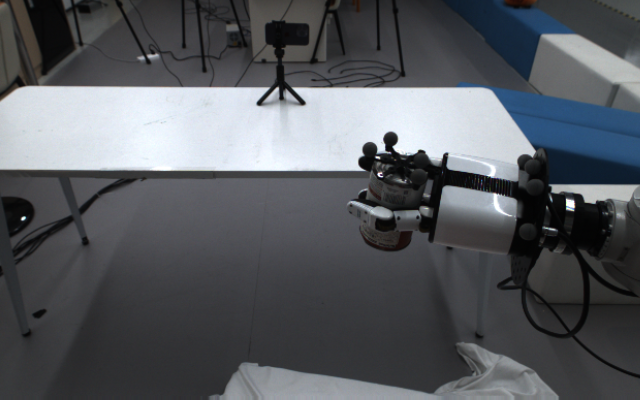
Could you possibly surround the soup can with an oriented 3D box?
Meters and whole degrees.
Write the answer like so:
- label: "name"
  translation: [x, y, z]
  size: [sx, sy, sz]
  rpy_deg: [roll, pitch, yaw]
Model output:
- label: "soup can"
  translation: [0.090, 0.003, 0.593]
  size: [0.067, 0.101, 0.067]
  rpy_deg: [5, 37, -4]
